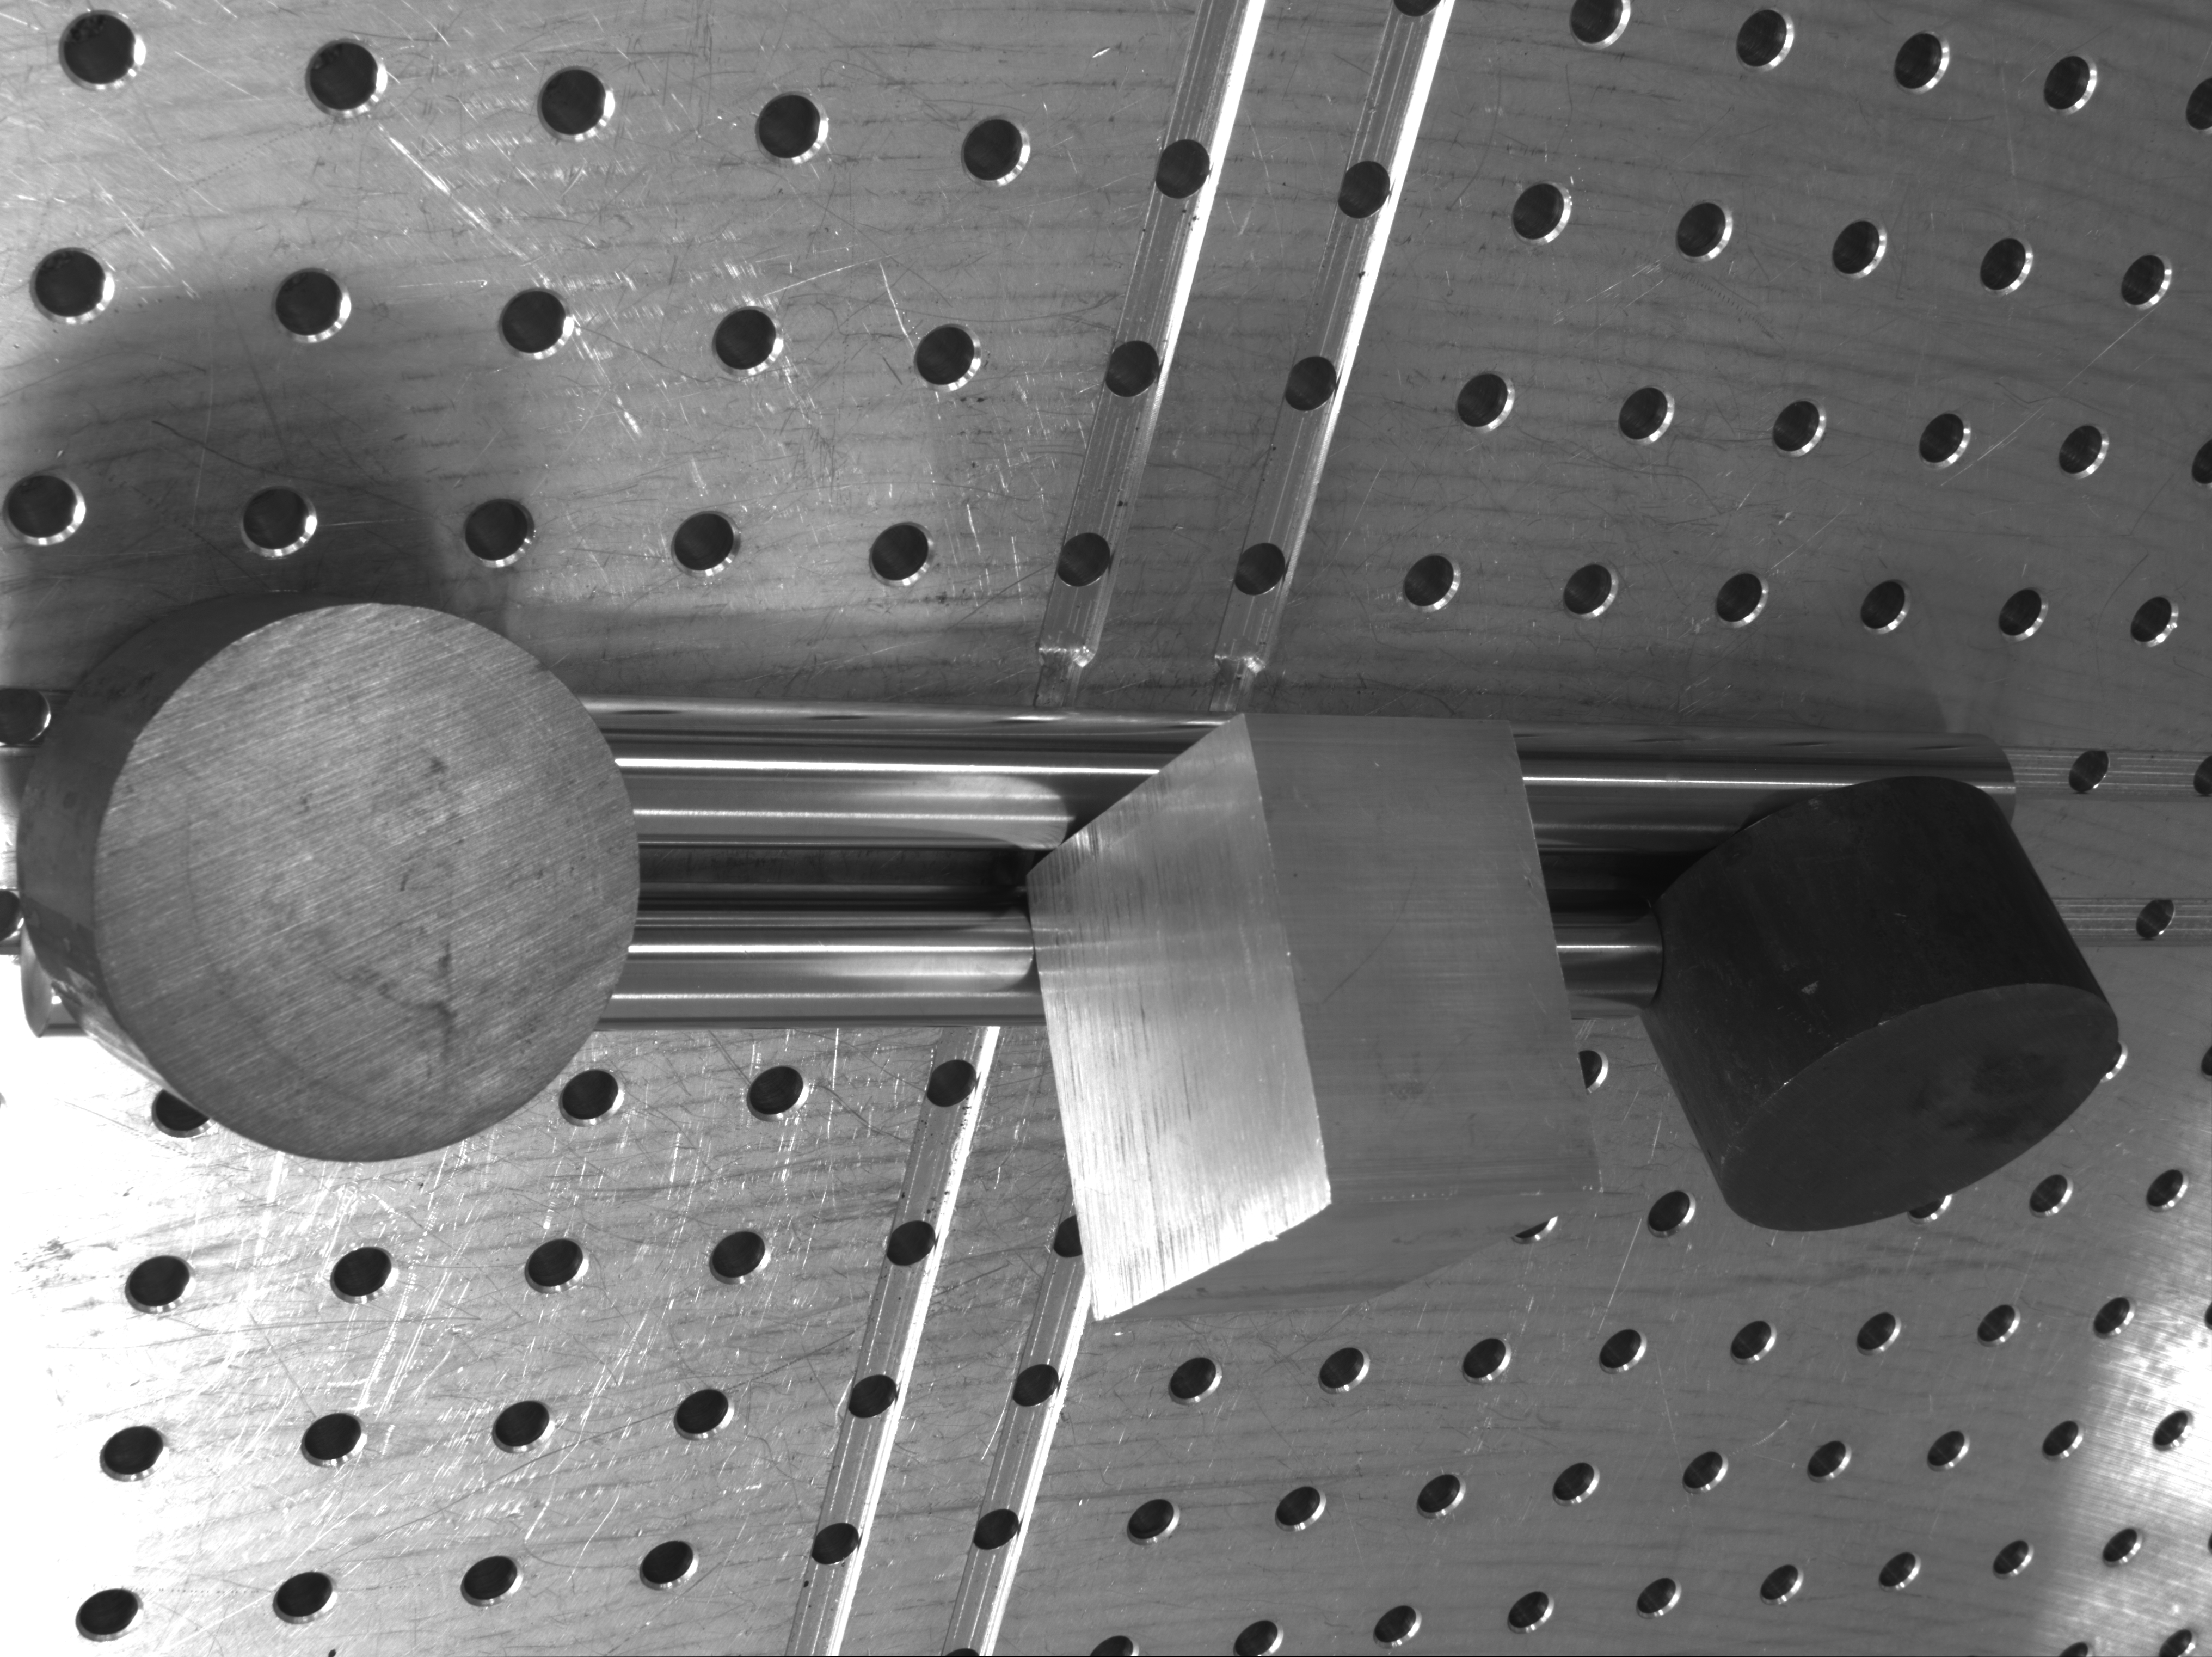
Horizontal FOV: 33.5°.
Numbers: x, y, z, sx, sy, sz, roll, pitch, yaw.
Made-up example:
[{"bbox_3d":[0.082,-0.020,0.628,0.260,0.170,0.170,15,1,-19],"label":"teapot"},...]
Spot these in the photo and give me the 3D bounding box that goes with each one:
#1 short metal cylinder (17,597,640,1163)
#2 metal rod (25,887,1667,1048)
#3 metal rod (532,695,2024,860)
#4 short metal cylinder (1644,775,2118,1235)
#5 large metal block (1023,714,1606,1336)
[{"bbox_3d":[-0.116,0.006,0.548,0.080,0.050,0.080,-3,97,-28],"label":"short metal cylinder"},{"bbox_3d":[-0.032,0.023,0.637,0.301,0.025,0.025,1,118,-29],"label":"metal rod"},{"bbox_3d":[0.042,-0.007,0.658,0.301,0.025,0.025,1,118,-29],"label":"metal rod"},{"bbox_3d":[0.146,0.035,0.707,0.080,0.050,0.080,-14,145,-10],"label":"short metal cylinder"},{"bbox_3d":[0.032,0.034,0.605,0.050,0.080,0.080,1,160,-28],"label":"large metal block"}]
